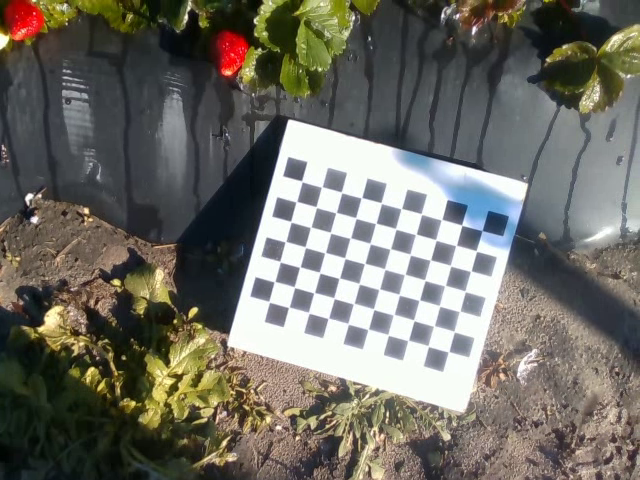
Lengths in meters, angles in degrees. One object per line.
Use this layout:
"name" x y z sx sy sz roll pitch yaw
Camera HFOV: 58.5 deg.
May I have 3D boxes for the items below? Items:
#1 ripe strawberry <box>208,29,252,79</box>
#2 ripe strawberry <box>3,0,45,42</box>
"ripe strawberry" -0.084 -0.167 0.518 0.041 0.053 0.047 9 -38 1
"ripe strawberry" -0.278 -0.199 0.521 0.037 0.040 0.051 1 42 2
